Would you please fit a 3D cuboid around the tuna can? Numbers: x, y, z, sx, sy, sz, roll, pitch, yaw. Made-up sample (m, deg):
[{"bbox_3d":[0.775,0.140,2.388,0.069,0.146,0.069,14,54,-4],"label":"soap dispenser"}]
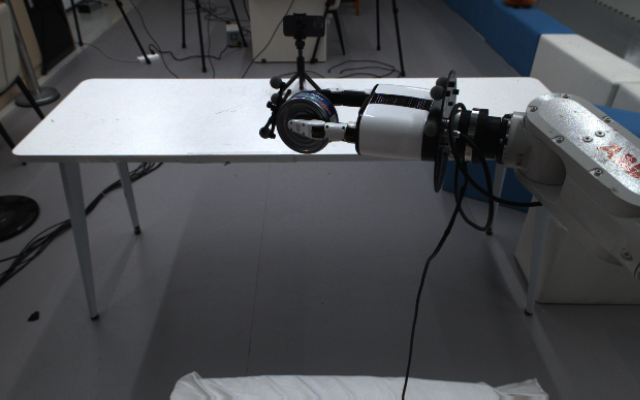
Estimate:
[{"bbox_3d":[-0.017,-0.107,0.689,0.085,0.085,0.034,12,30,14],"label":"tuna can"}]
